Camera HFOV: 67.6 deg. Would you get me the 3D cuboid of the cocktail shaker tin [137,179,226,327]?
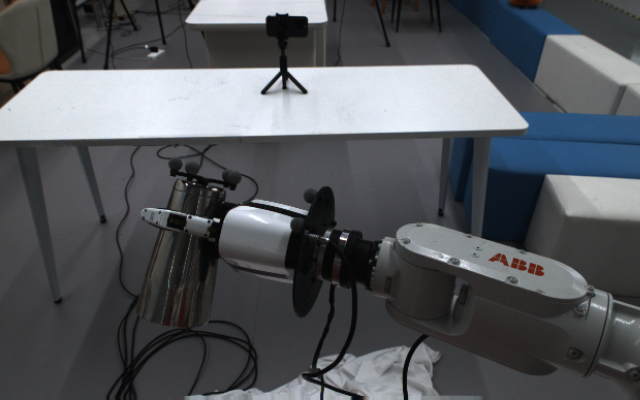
[{"bbox_3d":[-0.166,0.062,0.615,0.093,0.170,0.093,12,1,0],"label":"cocktail shaker tin"}]
